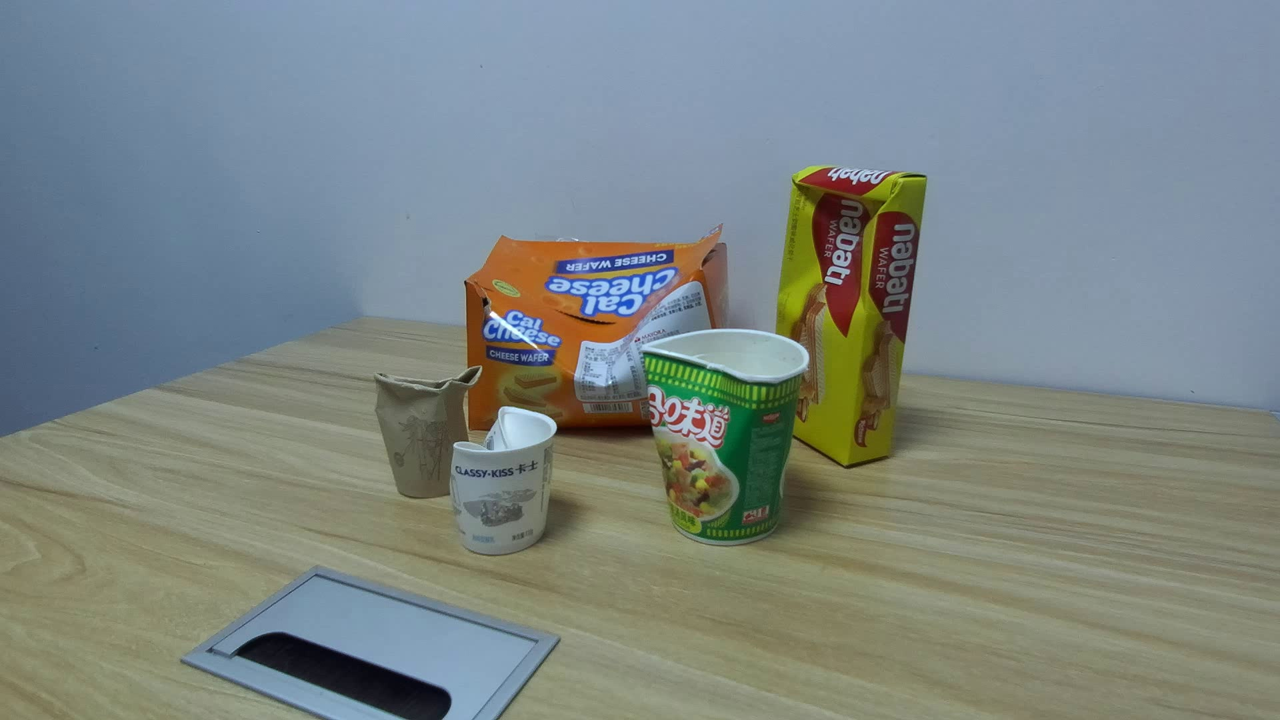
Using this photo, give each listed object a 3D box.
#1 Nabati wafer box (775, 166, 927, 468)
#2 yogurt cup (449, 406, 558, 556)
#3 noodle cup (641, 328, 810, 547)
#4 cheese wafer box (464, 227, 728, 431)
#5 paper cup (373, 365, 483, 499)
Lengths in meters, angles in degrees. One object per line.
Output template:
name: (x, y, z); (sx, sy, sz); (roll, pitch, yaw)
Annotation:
Nabati wafer box: (0.143, -0.032, 0.509); (0.042, 0.203, 0.096); (-8, 21, -25)
yogurt cup: (-0.081, 0.073, 0.424); (0.067, 0.070, 0.067); (-1, 17, 1)
noodle cup: (0.056, 0.046, 0.425); (0.087, 0.109, 0.093); (-9, 21, -21)
cheese wafer box: (-0.029, -0.030, 0.607); (0.219, 0.145, 0.191); (0, 19, 3)
paper cup: (-0.143, 0.046, 0.492); (0.066, 0.083, 0.058); (8, 20, 24)
